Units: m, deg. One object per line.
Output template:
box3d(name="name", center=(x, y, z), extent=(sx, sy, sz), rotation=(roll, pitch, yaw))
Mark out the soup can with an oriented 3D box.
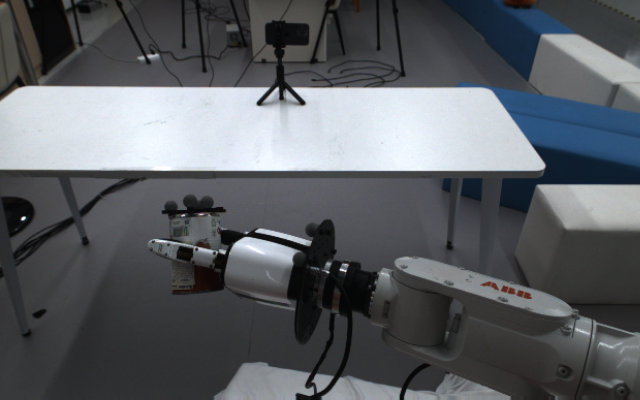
box3d(name="soup can", center=(-0.162, 0.072, 0.643), extent=(0.067, 0.101, 0.067), rotation=(-5, -5, 0))
